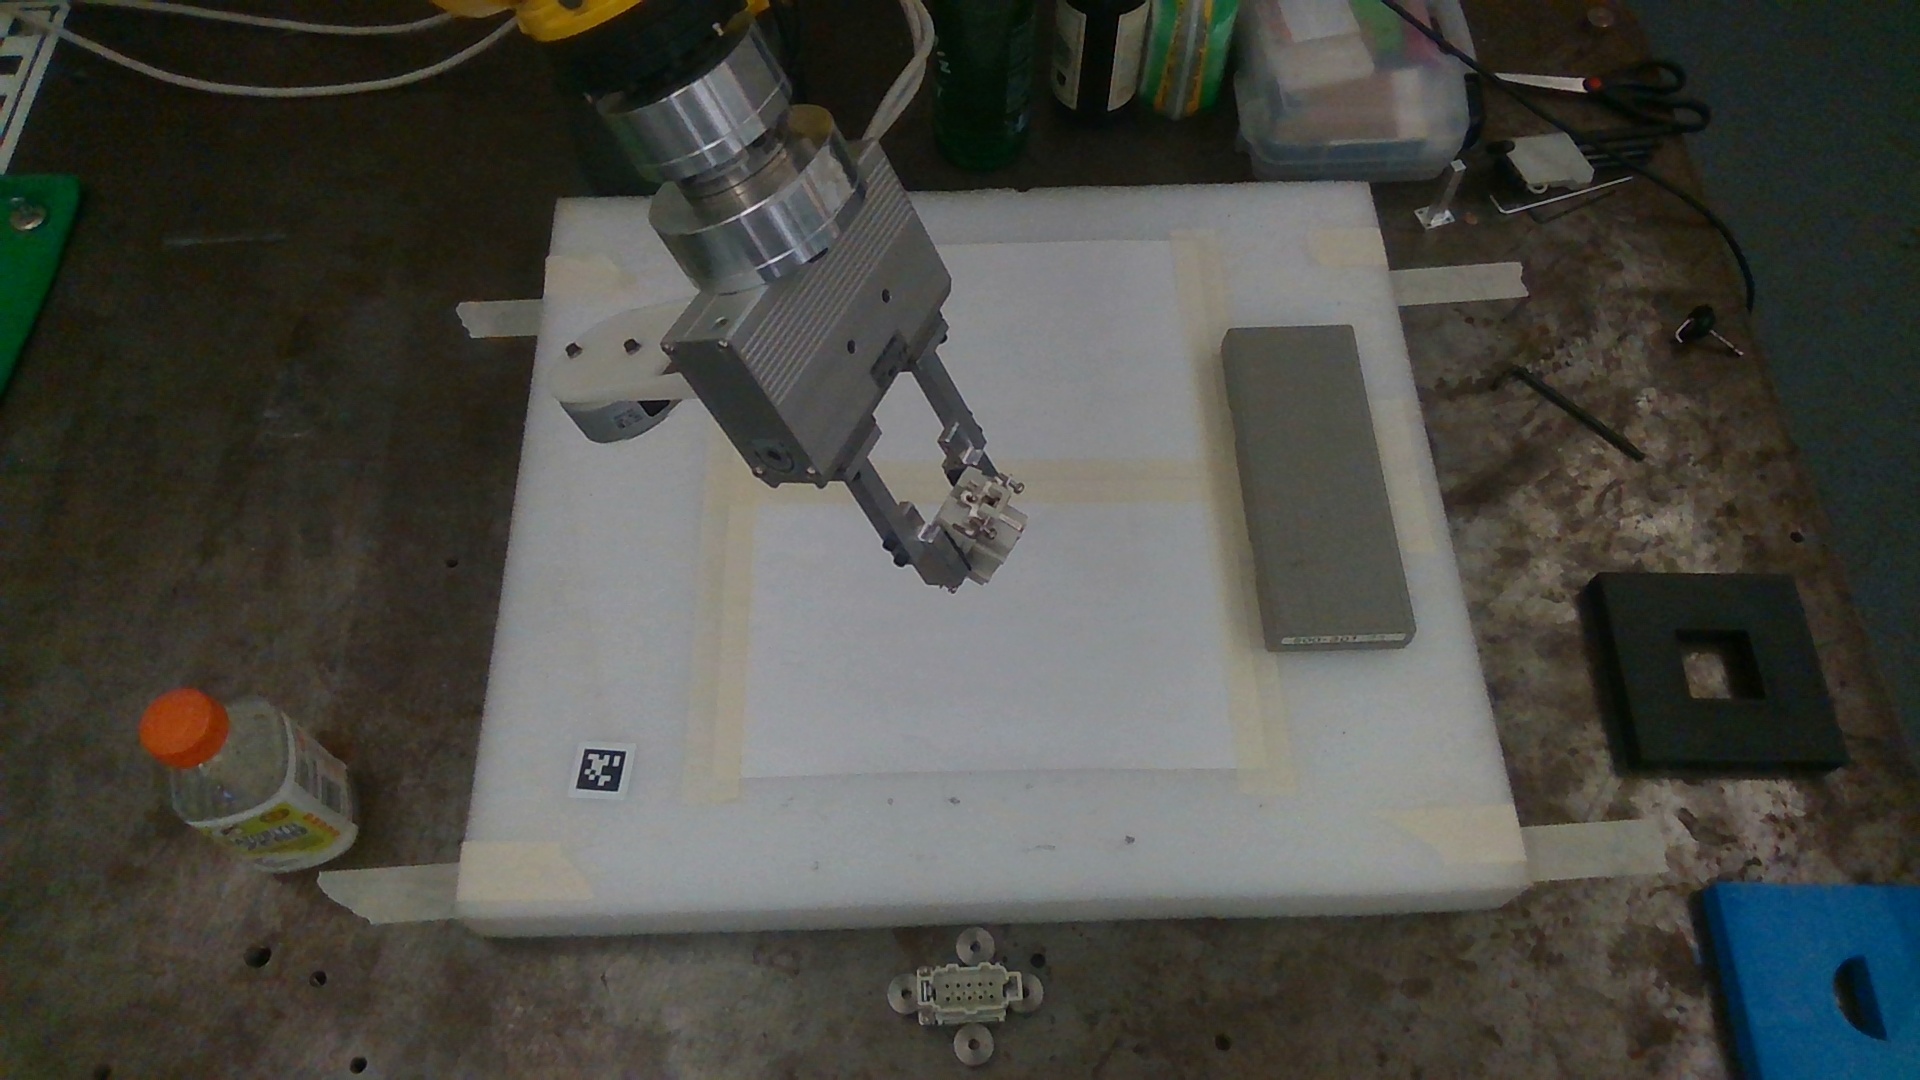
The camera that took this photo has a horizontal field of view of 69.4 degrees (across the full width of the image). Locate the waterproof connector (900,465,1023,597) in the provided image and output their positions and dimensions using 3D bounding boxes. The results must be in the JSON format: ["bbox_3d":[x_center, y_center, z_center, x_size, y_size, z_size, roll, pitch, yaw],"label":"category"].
[{"bbox_3d":[0.002,-0.003,0.652,0.038,0.069,0.036,35,51,-4],"label":"waterproof connector"}]
